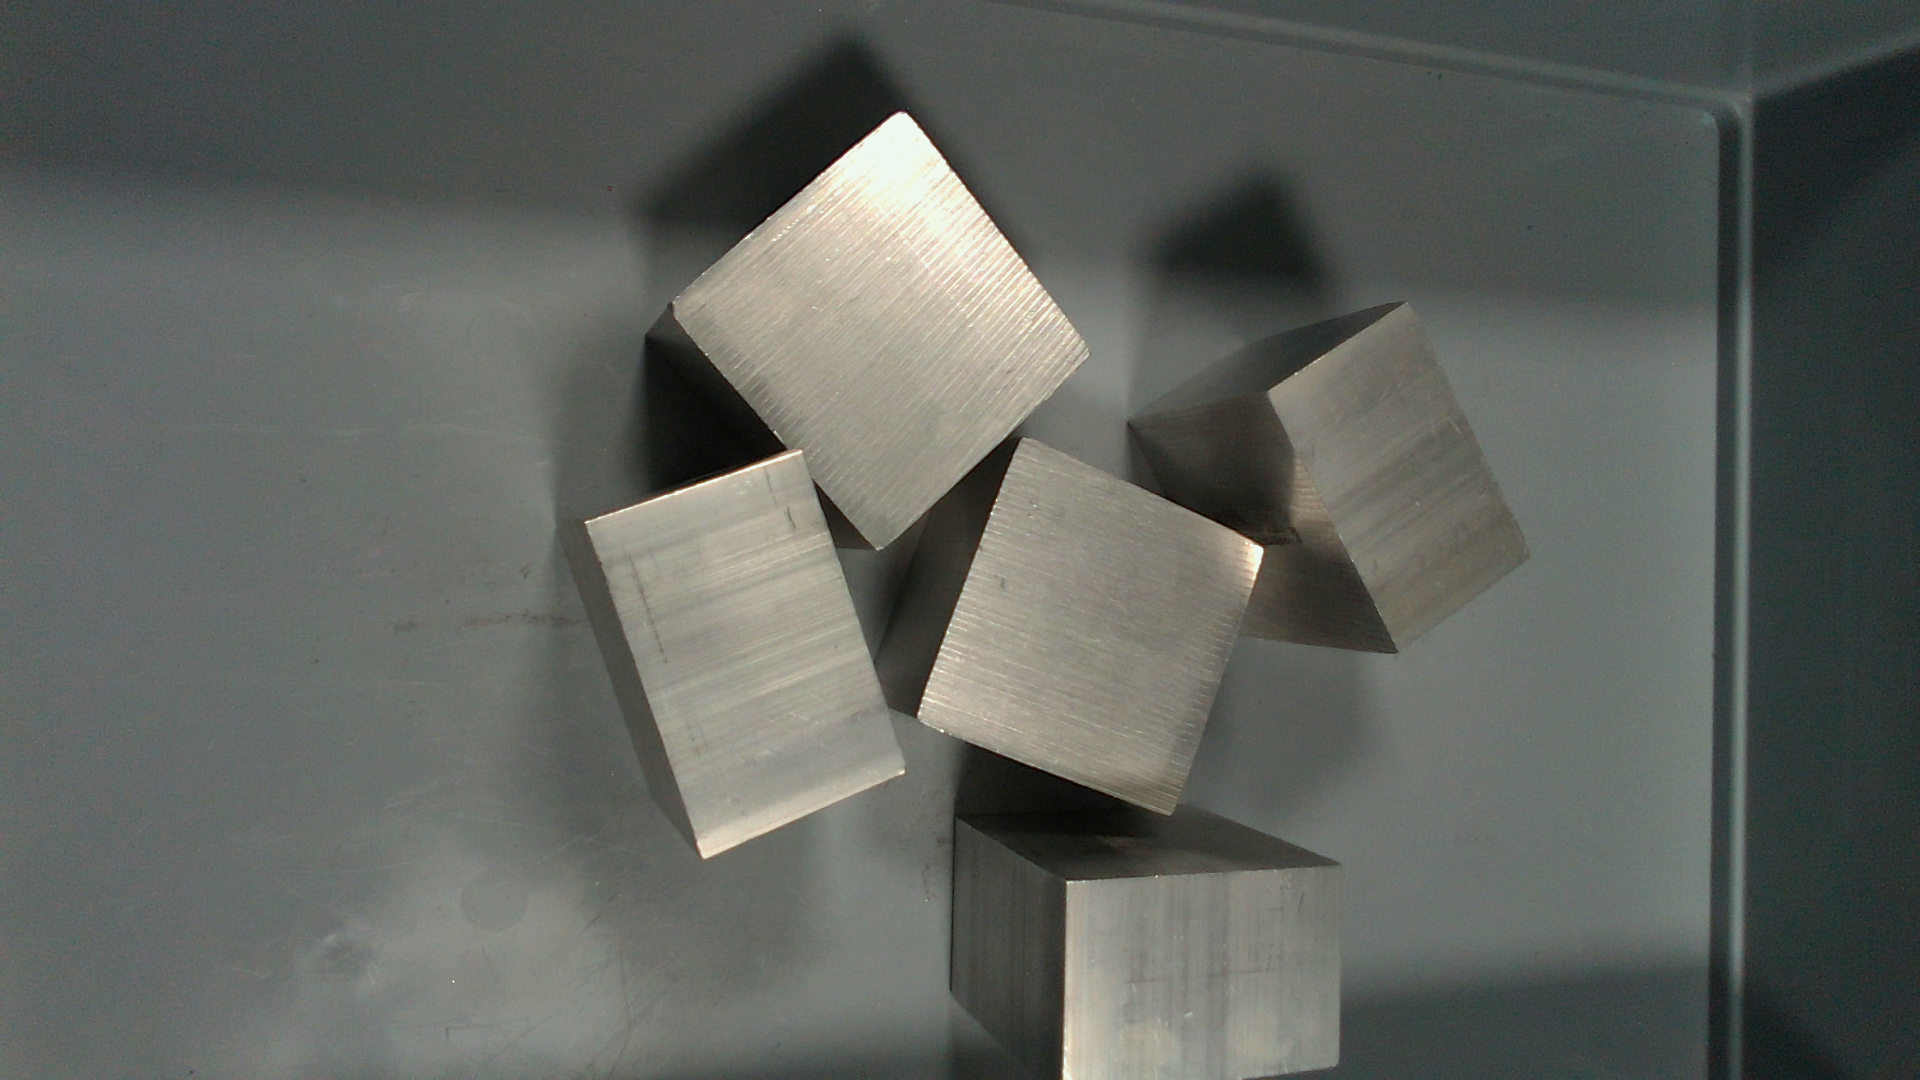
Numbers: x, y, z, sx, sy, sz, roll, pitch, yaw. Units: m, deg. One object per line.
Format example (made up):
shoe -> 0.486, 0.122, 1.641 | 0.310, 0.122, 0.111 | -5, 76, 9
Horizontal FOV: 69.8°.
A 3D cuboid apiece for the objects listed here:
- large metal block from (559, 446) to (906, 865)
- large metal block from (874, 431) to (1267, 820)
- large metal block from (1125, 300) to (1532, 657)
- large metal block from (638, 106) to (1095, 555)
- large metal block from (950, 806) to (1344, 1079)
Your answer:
large metal block -> -0.060, 0.025, 0.341 | 0.050, 0.080, 0.080 | -20, 97, -19
large metal block -> 0.028, 0.024, 0.390 | 0.080, 0.050, 0.080 | 24, 82, -18
large metal block -> 0.104, -0.016, 0.401 | 0.050, 0.080, 0.080 | -33, 101, -17
large metal block -> -0.026, -0.053, 0.369 | 0.080, 0.050, 0.080 | -44, 104, -15
large metal block -> 0.049, 0.108, 0.382 | 0.080, 0.080, 0.050 | 1, 90, -20
